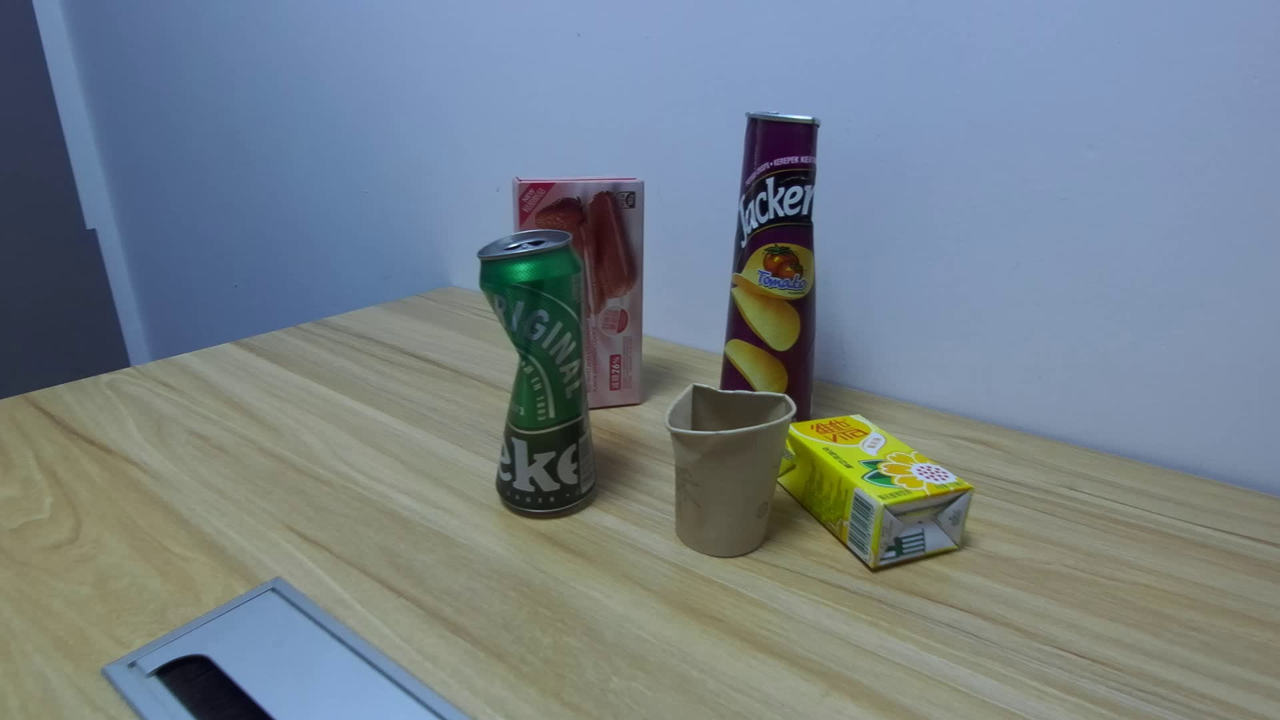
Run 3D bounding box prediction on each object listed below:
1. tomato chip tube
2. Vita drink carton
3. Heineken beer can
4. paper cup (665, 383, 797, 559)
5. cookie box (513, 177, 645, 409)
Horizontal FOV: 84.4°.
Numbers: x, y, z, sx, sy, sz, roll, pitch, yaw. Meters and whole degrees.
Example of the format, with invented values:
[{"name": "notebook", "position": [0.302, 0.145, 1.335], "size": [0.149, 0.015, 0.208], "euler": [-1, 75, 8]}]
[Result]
[{"name": "tomato chip tube", "position": [0.101, -0.058, 0.523], "size": [0.076, 0.235, 0.078], "euler": [16, 24, 35]}, {"name": "Vita drink carton", "position": [0.140, 0.076, 0.441], "size": [0.067, 0.043, 0.108], "euler": [-3, 20, -21]}, {"name": "Heineken beer can", "position": [-0.064, 0.011, 0.437], "size": [0.069, 0.168, 0.068], "euler": [12, 24, 35]}, {"name": "paper cup", "position": [0.050, 0.065, 0.408], "size": [0.071, 0.084, 0.066], "euler": [5, 20, 12]}, {"name": "cookie box", "position": [-0.048, -0.052, 0.572], "size": [0.096, 0.184, 0.048], "euler": [-5, 19, -13]}]
